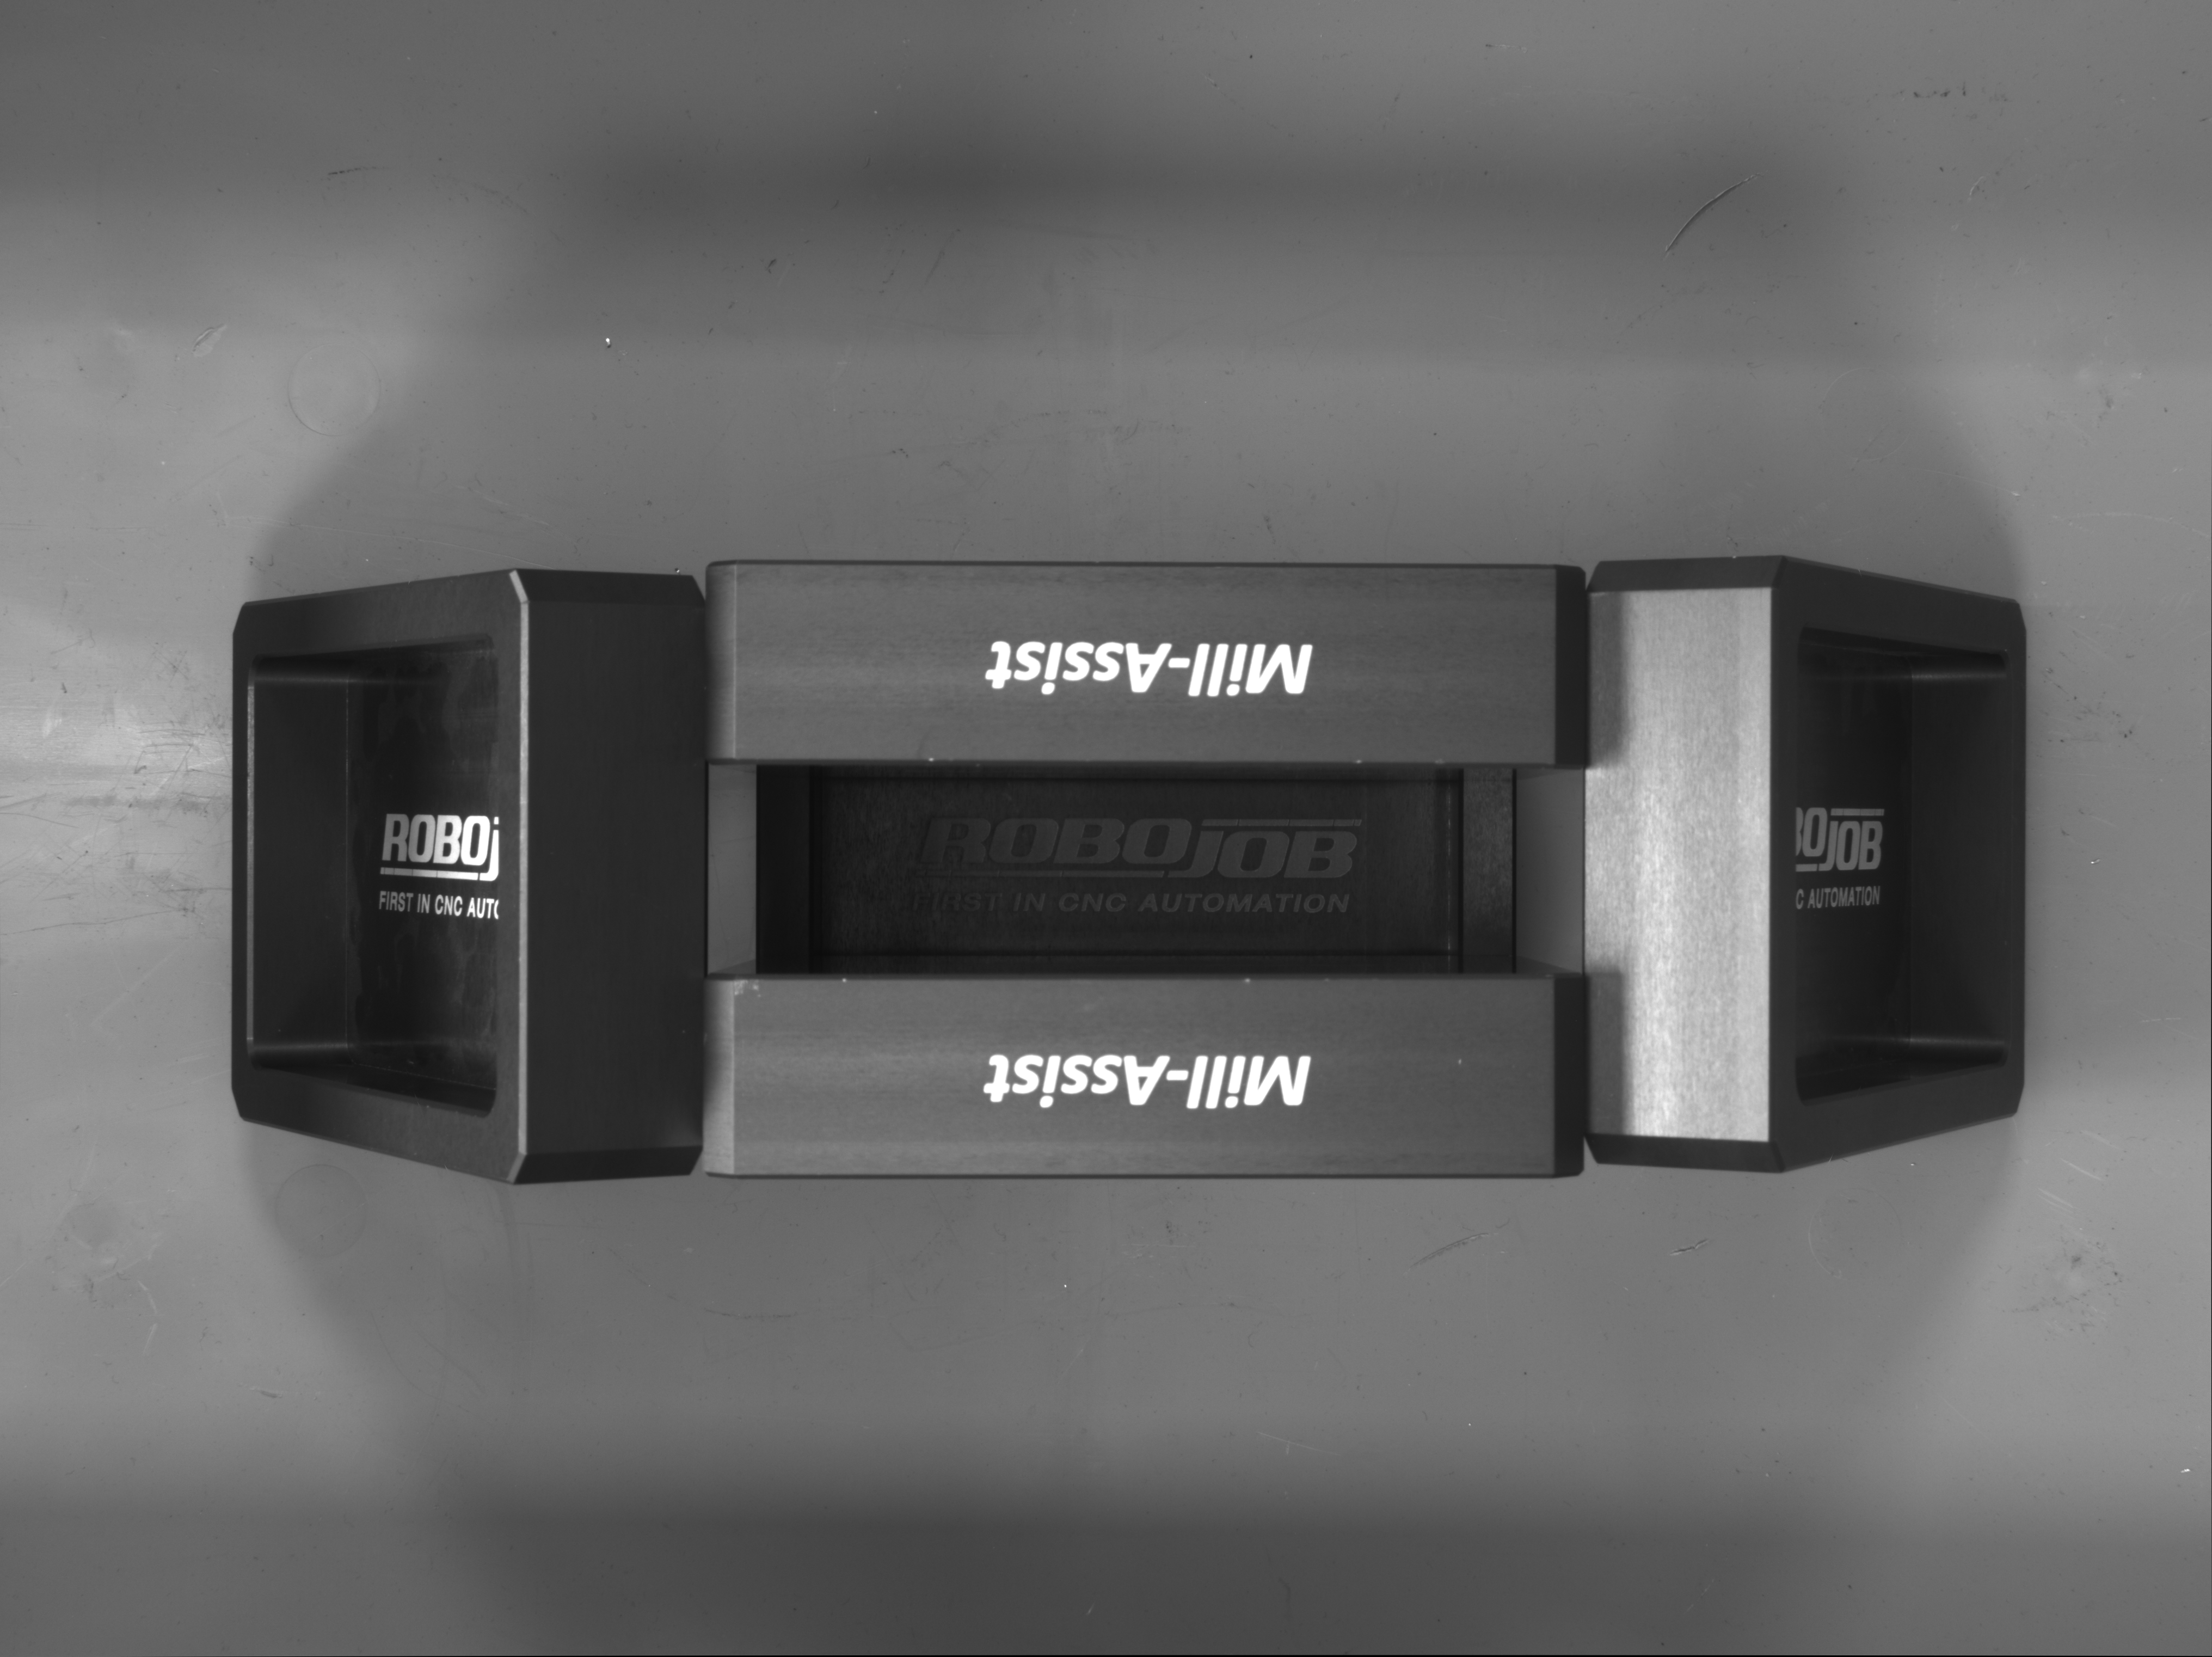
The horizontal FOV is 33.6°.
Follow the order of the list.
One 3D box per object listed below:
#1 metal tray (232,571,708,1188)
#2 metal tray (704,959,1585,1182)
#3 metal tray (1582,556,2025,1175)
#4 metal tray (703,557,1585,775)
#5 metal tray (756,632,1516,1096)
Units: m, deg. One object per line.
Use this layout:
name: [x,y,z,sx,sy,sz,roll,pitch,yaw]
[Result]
metal tray: [-0.106,0.007,0.593,0.030,0.130,0.090,0,91,-32]
metal tray: [0.006,0.037,0.581,0.130,0.090,0.030,0,89,0]
metal tray: [0.116,0.005,0.593,0.030,0.130,0.090,0,90,30]
metal tray: [0.006,-0.024,0.581,0.130,0.090,0.030,0,90,0]
metal tray: [0.005,0.007,0.642,0.130,0.030,0.090,0,90,-1]
